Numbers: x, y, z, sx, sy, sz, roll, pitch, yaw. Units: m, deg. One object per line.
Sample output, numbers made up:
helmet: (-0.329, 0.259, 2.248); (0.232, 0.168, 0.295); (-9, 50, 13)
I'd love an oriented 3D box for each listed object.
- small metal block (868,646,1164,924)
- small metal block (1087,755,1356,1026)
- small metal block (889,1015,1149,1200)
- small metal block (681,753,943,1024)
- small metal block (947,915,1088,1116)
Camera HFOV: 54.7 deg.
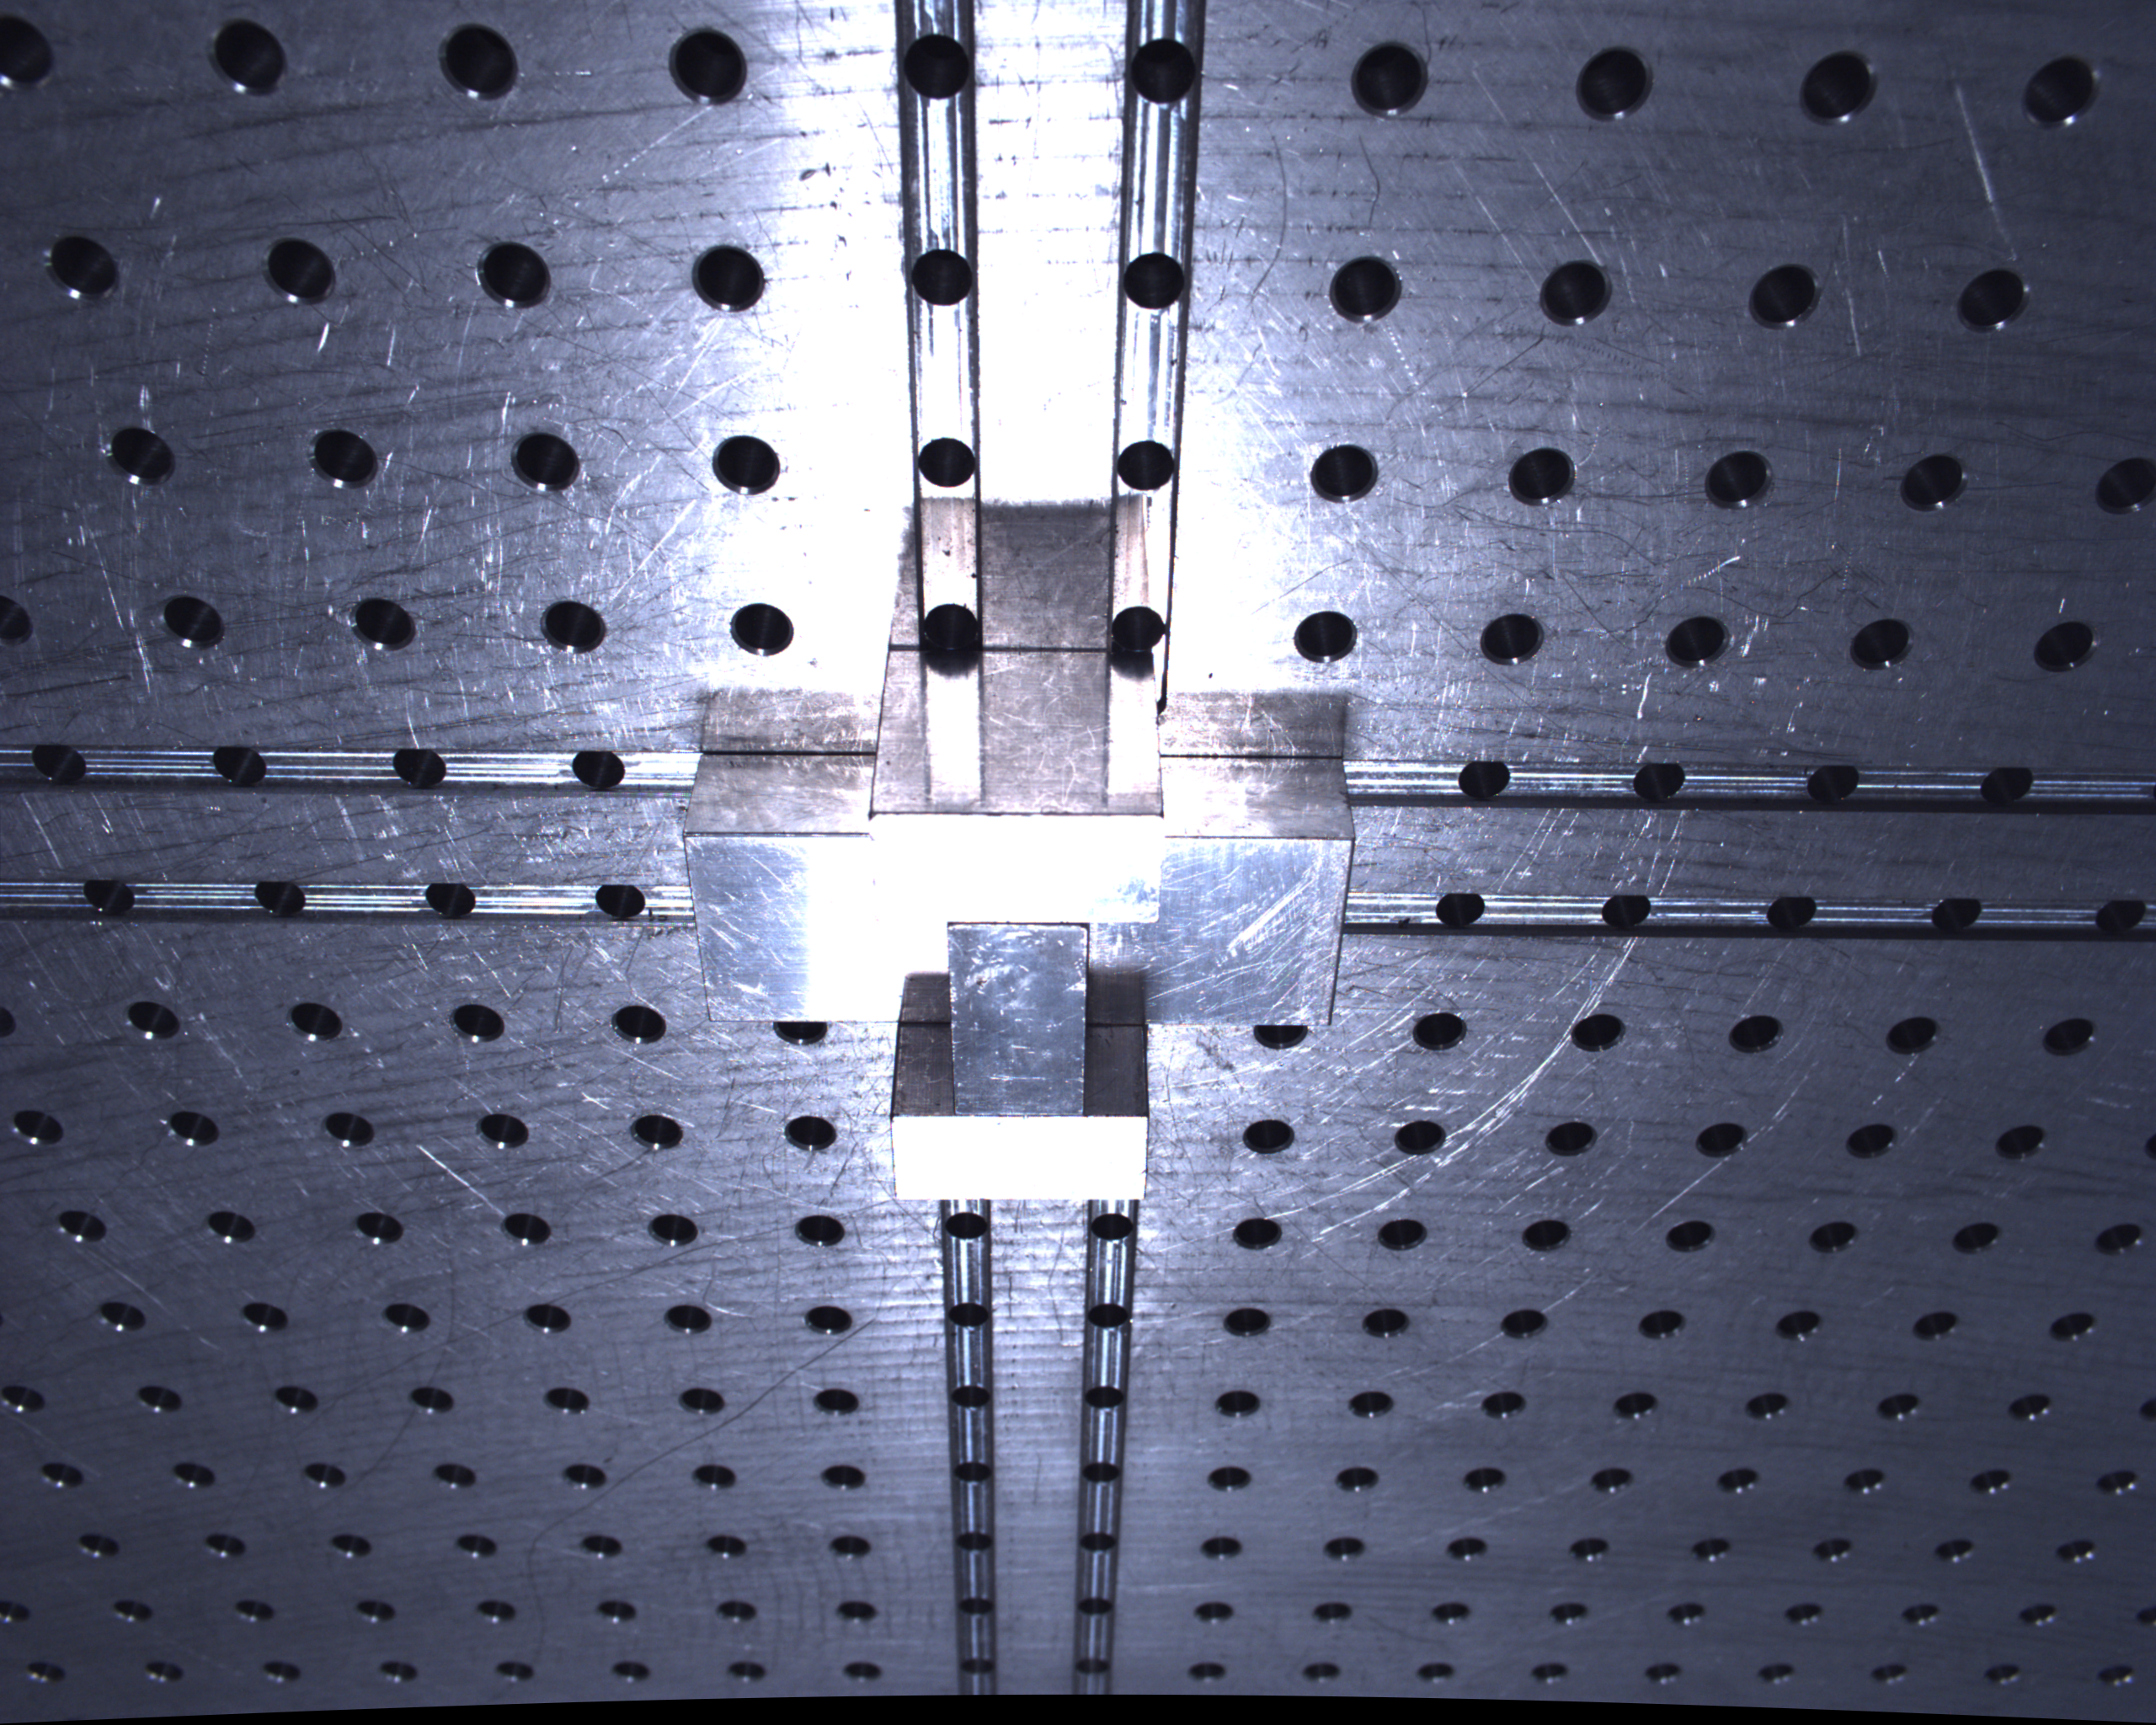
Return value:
small metal block: (-0.011, -0.015, 0.382); (0.050, 0.050, 0.025); (1, 130, -1)
small metal block: (0.026, 0.006, 0.417); (0.050, 0.025, 0.050); (1, 130, -1)
small metal block: (-0.012, 0.042, 0.431); (0.050, 0.050, 0.025); (1, 130, -1)
small metal block: (-0.049, 0.006, 0.415); (0.050, 0.025, 0.050); (0, 130, -1)
small metal block: (-0.011, 0.014, 0.406); (0.025, 0.050, 0.050); (1, 130, -1)
